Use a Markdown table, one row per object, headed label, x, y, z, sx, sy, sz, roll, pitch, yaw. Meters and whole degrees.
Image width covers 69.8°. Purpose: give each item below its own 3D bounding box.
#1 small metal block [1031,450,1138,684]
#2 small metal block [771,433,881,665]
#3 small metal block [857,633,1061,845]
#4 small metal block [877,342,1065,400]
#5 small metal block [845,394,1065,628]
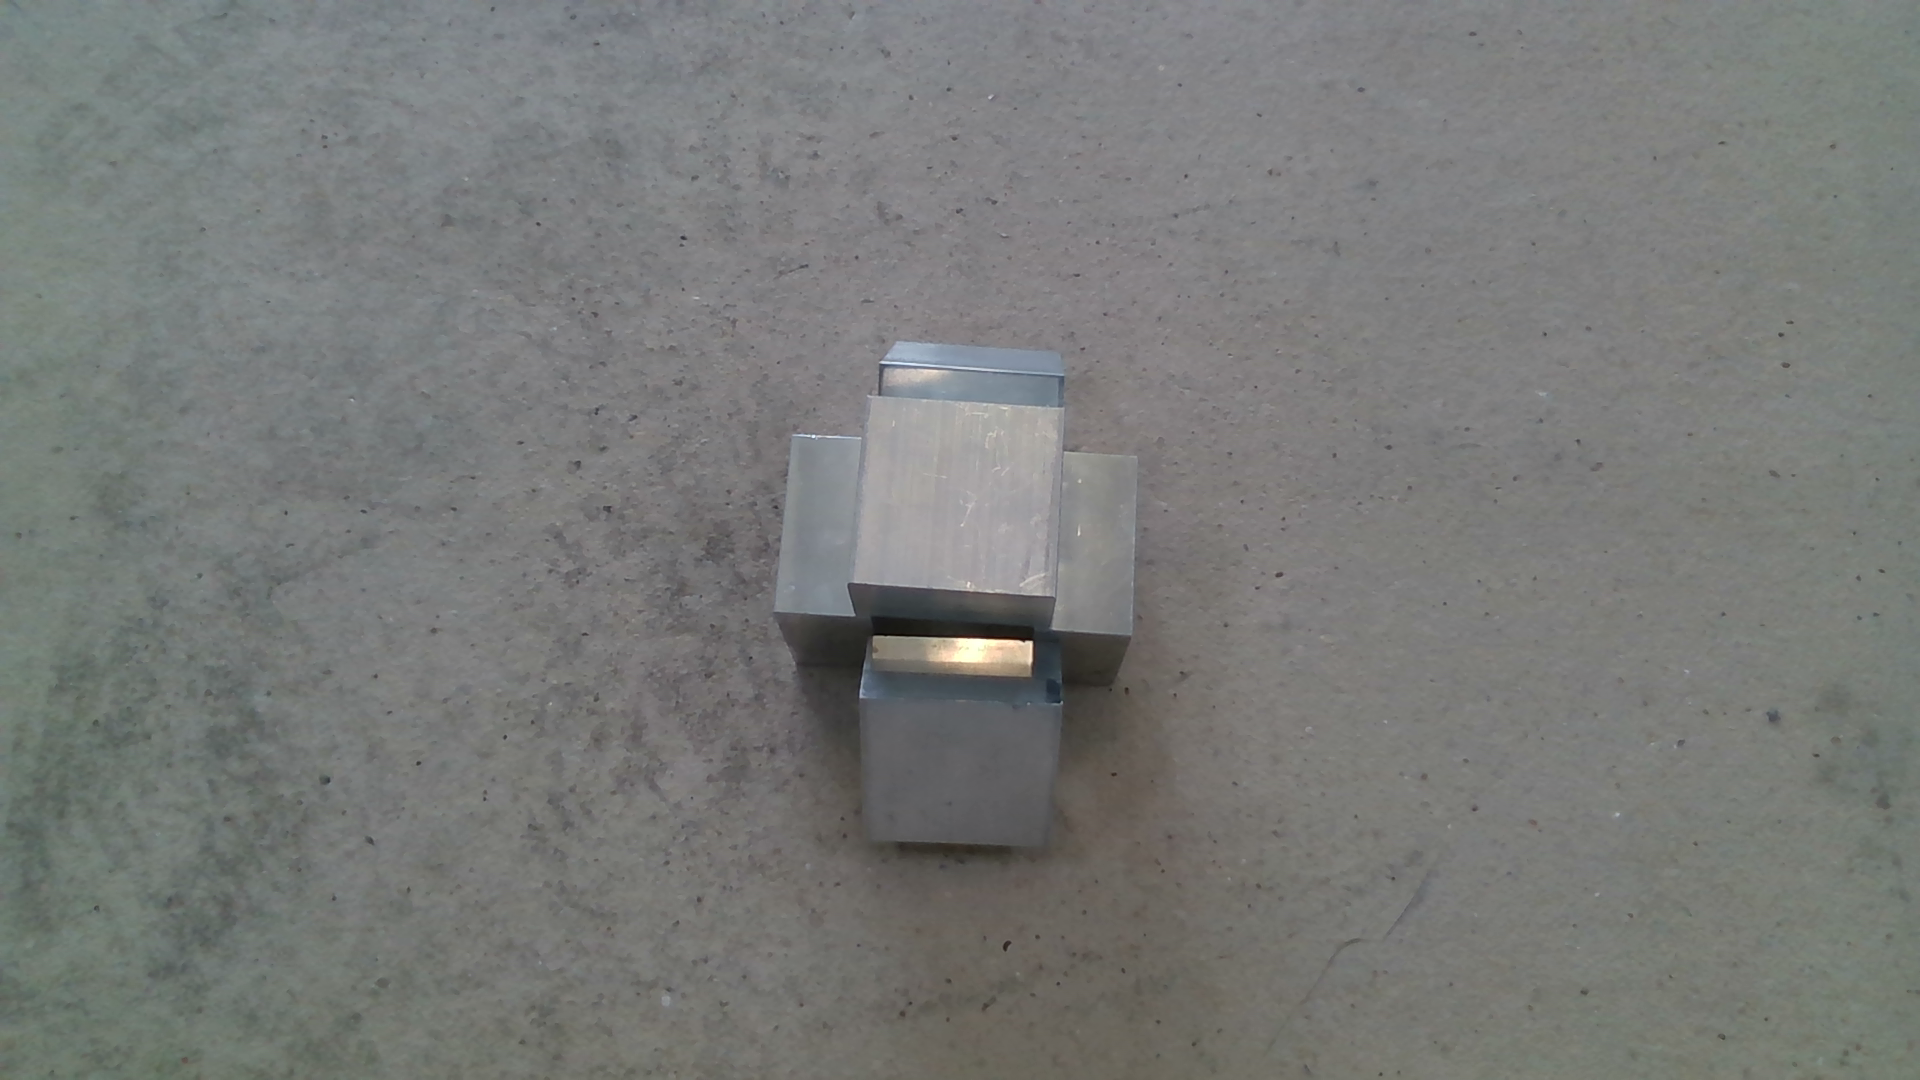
| label | x | y | z | sx | sy | sz | roll | pitch | yaw |
| --- | --- | --- | --- | --- | --- | --- | --- | --- | --- |
| small metal block | 0.033 | 0.008 | 0.379 | 0.025 | 0.050 | 0.050 | 4 | 70 | 2 |
| small metal block | -0.034 | 0.004 | 0.382 | 0.025 | 0.050 | 0.050 | 3 | 70 | 1 |
| small metal block | 0.000 | 0.053 | 0.361 | 0.050 | 0.050 | 0.025 | 2 | 35 | 1 |
| small metal block | 0.003 | -0.041 | 0.395 | 0.050 | 0.050 | 0.025 | 4 | 105 | 2 |
| small metal block | -0.001 | -0.007 | 0.346 | 0.050 | 0.025 | 0.050 | 4 | 70 | 1 |
